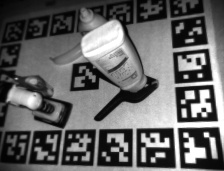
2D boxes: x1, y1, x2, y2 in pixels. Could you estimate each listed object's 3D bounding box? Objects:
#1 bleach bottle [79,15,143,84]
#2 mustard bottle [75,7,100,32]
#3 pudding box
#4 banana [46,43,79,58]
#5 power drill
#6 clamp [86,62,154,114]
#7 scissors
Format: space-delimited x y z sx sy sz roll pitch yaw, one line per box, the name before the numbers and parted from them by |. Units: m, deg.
bleach bottle | 0.025 -0.065 0.537 0.102 0.254 0.067 -26 61 16
mustard bottle | -0.062 -0.172 0.654 0.095 0.193 0.058 9 74 20
pudding box | -0.281 -0.006 0.713 0.113 0.091 0.038 -1 64 16
banana | -0.145 -0.154 0.746 0.197 0.039 0.073 -42 48 0
power drill | -0.249 0.043 0.601 0.182 0.189 0.057 7 67 23
clamp | 0.023 -0.013 0.636 0.202 0.037 0.164 -11 71 11
scissors | -0.309 -0.032 0.660 0.201 0.016 0.088 21 83 17
